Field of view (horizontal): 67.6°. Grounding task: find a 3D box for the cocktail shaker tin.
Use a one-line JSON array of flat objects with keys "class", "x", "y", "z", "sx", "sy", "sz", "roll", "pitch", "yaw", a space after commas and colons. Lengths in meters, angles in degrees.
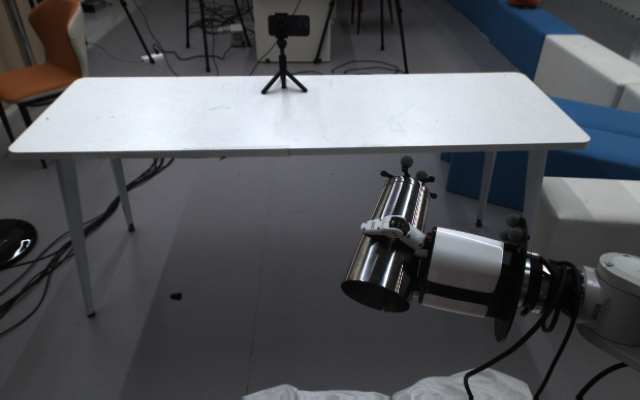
[{"class": "cocktail shaker tin", "x": 0.096, "y": 0.054, "z": 0.653, "sx": 0.093, "sy": 0.093, "sz": 0.170, "roll": 14, "pitch": 60, "yaw": 17}]
